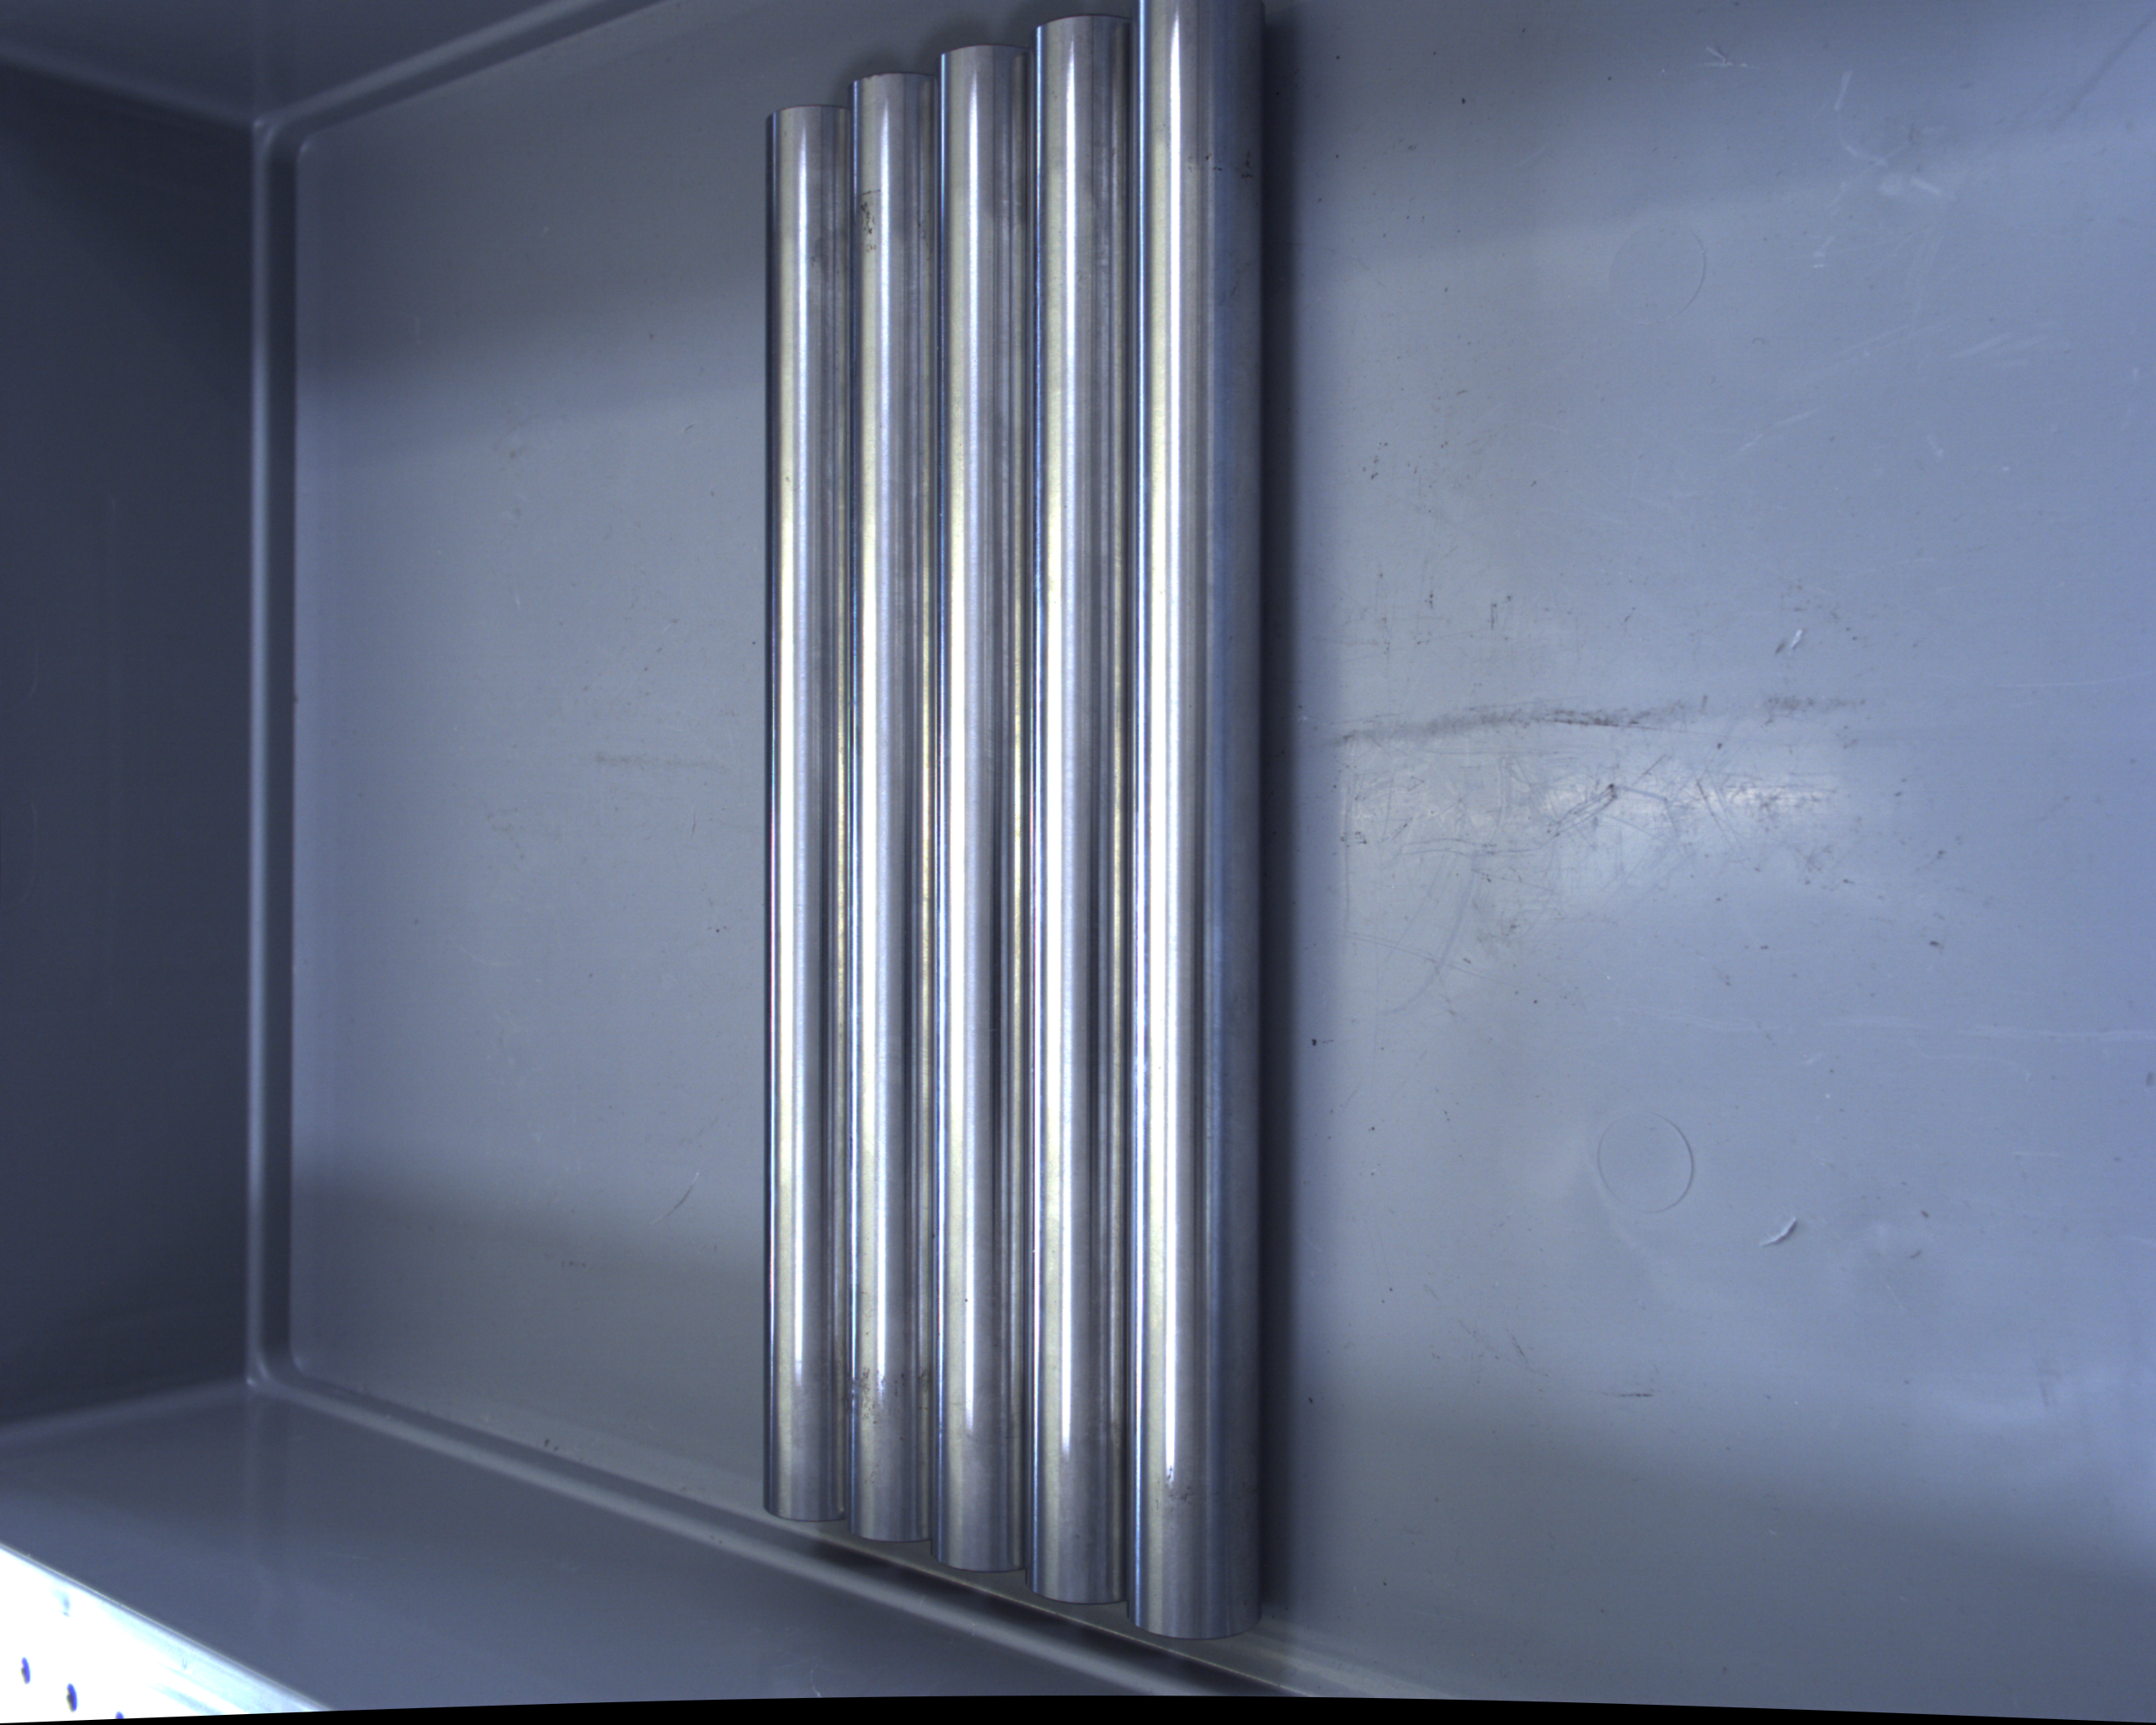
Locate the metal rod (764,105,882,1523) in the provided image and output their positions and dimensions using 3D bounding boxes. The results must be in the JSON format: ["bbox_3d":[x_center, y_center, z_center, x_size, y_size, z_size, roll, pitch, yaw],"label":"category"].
[{"bbox_3d":[-0.055,-0.010,0.451,0.025,0.025,0.298,0,90,40],"label":"metal rod"}]

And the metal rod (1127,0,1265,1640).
[{"bbox_3d":[0.022,-0.009,0.387,0.025,0.025,0.298,0,90,40],"label":"metal rod"}]

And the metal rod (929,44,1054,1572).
[{"bbox_3d":[-0.017,-0.011,0.419,0.025,0.025,0.298,0,90,40],"label":"metal rod"}]

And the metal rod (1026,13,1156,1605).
[{"bbox_3d":[0.003,-0.010,0.403,0.025,0.025,0.298,0,90,40],"label":"metal rod"}]

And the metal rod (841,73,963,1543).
[{"bbox_3d":[-0.037,-0.011,0.436,0.025,0.025,0.298,0,90,40],"label":"metal rod"}]
